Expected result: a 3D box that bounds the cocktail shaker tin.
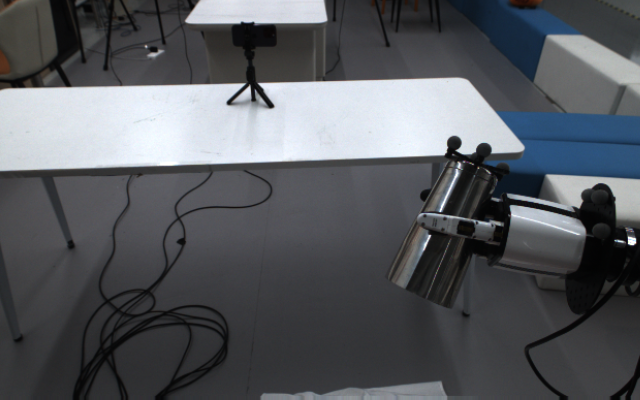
[{"bbox_3d":[0.161,0.036,0.612,0.093,0.170,0.093,23,-1,0],"label":"cocktail shaker tin"}]
